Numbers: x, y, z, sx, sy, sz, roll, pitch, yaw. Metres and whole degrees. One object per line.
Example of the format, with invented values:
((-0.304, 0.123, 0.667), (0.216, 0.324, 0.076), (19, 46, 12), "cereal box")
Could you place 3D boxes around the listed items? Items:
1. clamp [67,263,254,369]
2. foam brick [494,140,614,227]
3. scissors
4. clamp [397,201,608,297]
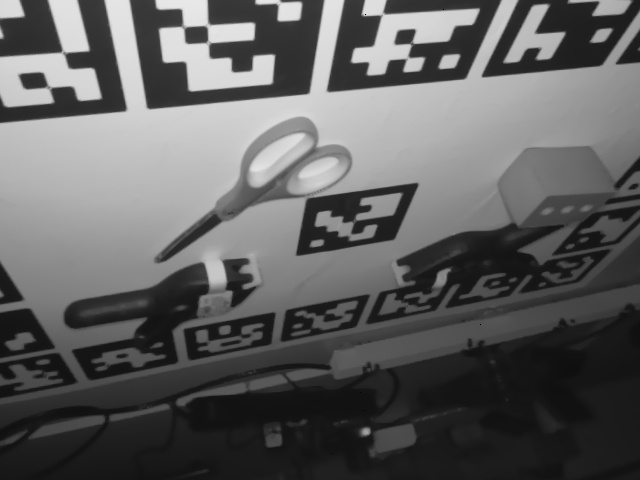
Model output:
((-0.136, 0.066, 0.660), (0.164, 0.037, 0.122), (-25, 140, 12), "clamp")
((0.208, -0.051, 0.619), (0.079, 0.051, 0.052), (-9, 146, -20), "foam brick")
((-0.068, -0.026, 0.554), (0.088, 0.016, 0.199), (25, 132, -37), "scissors")
((0.182, 0.023, 0.731), (0.204, 0.037, 0.164), (-11, 151, -7), "clamp")
